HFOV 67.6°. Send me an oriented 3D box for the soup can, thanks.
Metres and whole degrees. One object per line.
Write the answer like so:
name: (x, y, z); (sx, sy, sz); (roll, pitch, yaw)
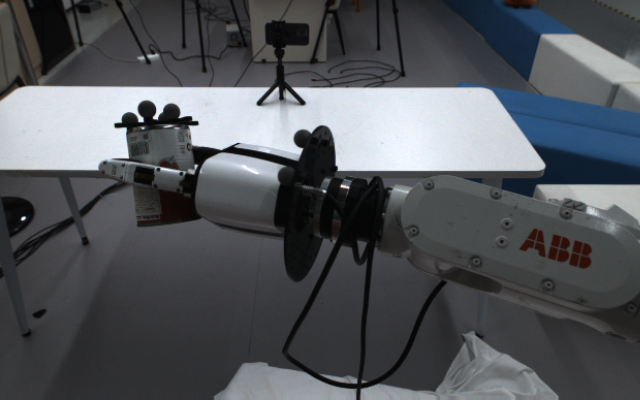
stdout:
soup can: (-0.166, -0.025, 0.522); (0.067, 0.101, 0.067); (-7, 2, 0)
